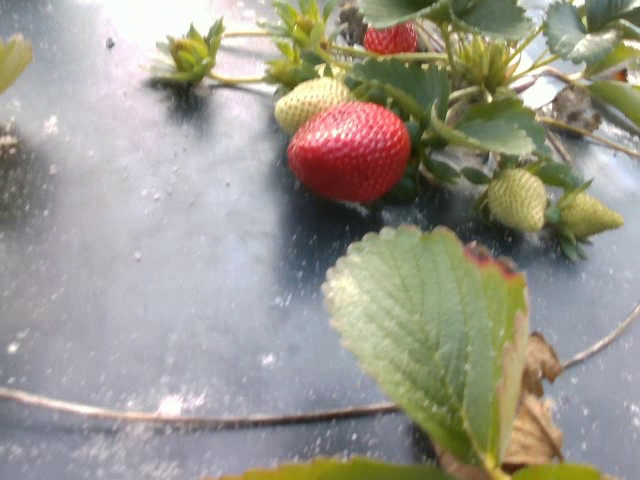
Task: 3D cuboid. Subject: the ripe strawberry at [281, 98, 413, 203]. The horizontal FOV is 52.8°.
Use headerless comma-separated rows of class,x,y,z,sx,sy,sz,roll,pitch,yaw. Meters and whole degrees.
ripe strawberry,0.005,-0.036,0.244,0.051,0.048,0.055,-10,-2,29
